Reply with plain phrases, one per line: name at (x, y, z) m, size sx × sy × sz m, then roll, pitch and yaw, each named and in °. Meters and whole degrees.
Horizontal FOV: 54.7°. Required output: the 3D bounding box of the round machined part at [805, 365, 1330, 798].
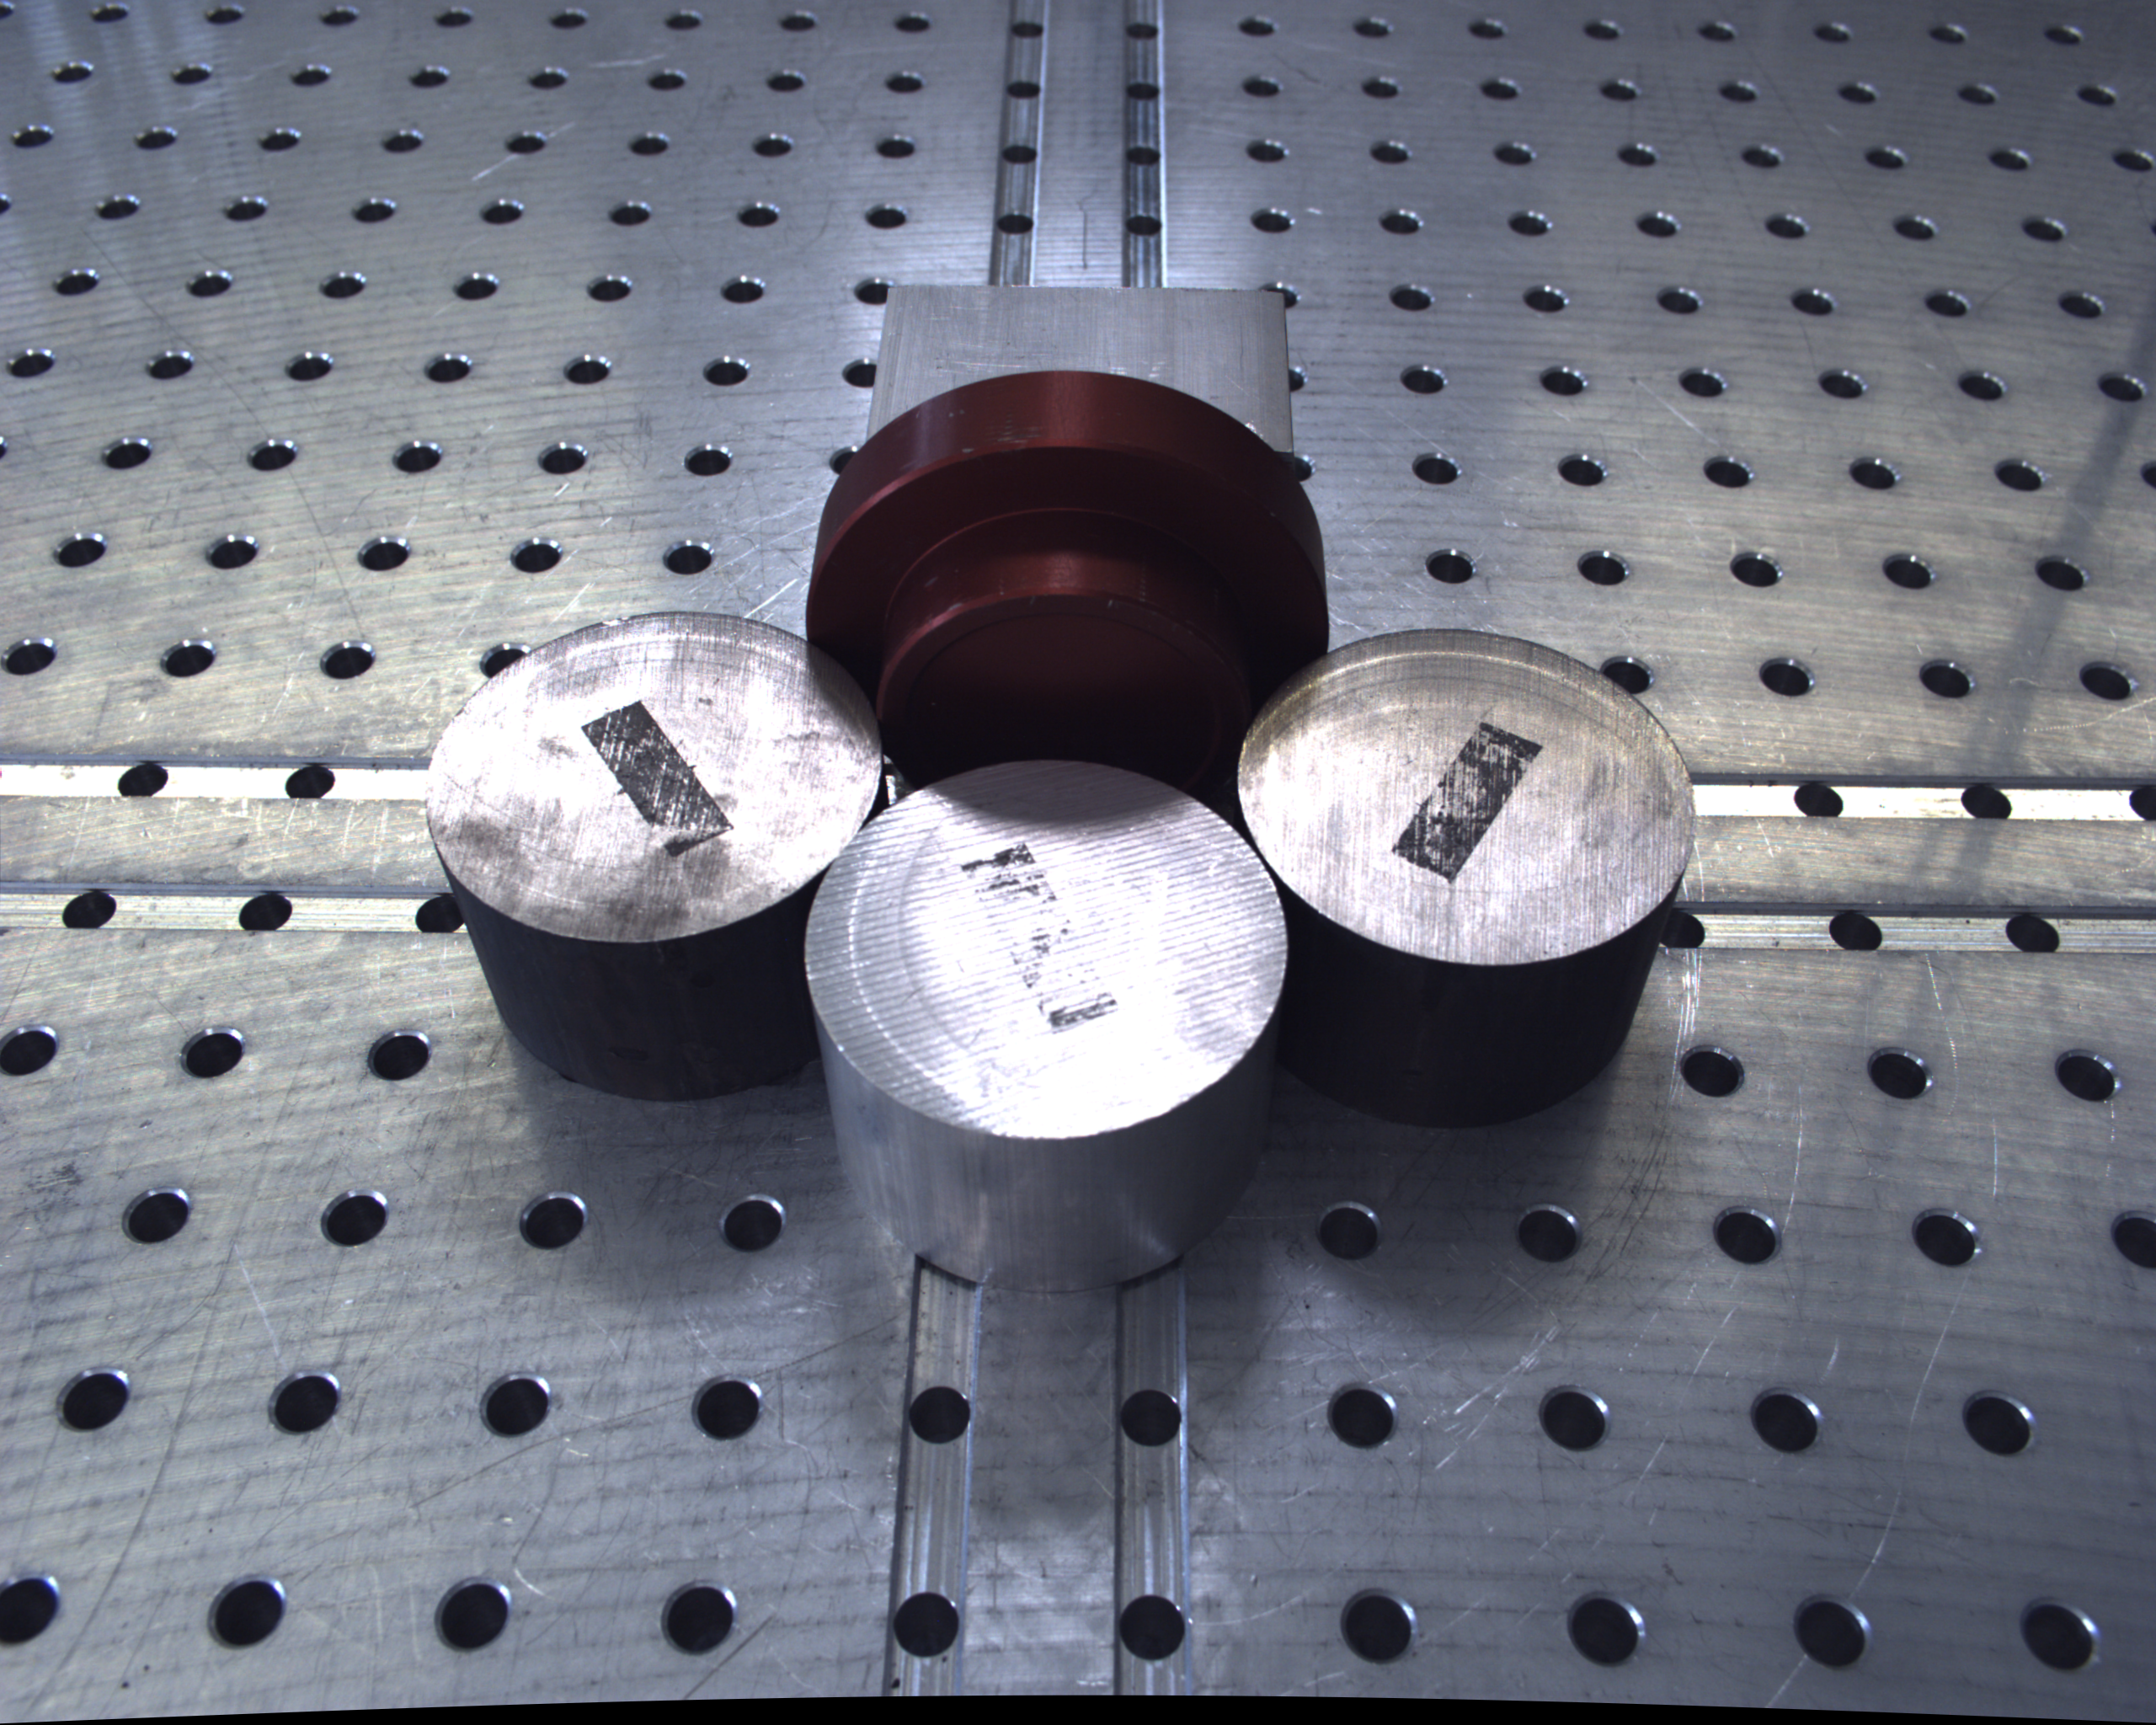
round machined part at (-0.002, -0.041, 0.392) m, size 0.099 × 0.097 × 0.042 m, roll 1°, pitch 50°, yaw 1°

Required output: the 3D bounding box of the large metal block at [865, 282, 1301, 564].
large metal block at (0.001, -0.071, 0.431) m, size 0.081 × 0.080 × 0.050 m, roll 1°, pitch 50°, yaw 0°

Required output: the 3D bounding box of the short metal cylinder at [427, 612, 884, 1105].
short metal cylinder at (-0.075, -0.002, 0.392) m, size 0.081 × 0.050 × 0.080 m, roll 0°, pitch 50°, yaw 0°

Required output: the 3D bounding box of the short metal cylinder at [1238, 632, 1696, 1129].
short metal cylinder at (0.069, 0.003, 0.390) m, size 0.081 × 0.050 × 0.080 m, roll 0°, pitch 50°, yaw 0°

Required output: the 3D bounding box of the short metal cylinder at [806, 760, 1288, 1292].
short metal cylinder at (-0.005, 0.028, 0.368) m, size 0.081 × 0.050 × 0.080 m, roll 0°, pitch 50°, yaw 0°
